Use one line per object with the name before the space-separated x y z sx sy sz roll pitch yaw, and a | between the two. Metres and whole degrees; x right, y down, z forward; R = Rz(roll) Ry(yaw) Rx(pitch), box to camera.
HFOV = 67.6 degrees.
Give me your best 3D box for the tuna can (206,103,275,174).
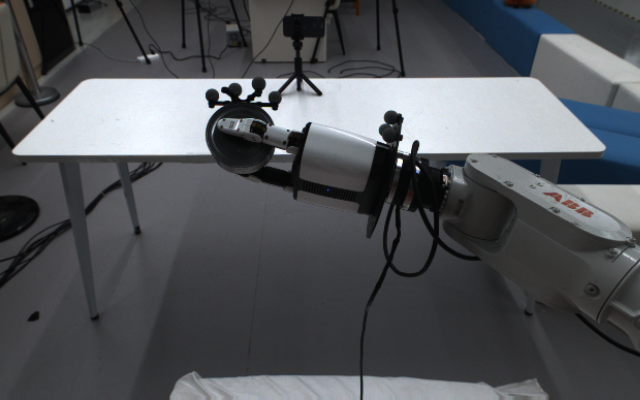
tuna can | -0.095 -0.078 0.604 0.085 0.034 0.085 1 70 -3
